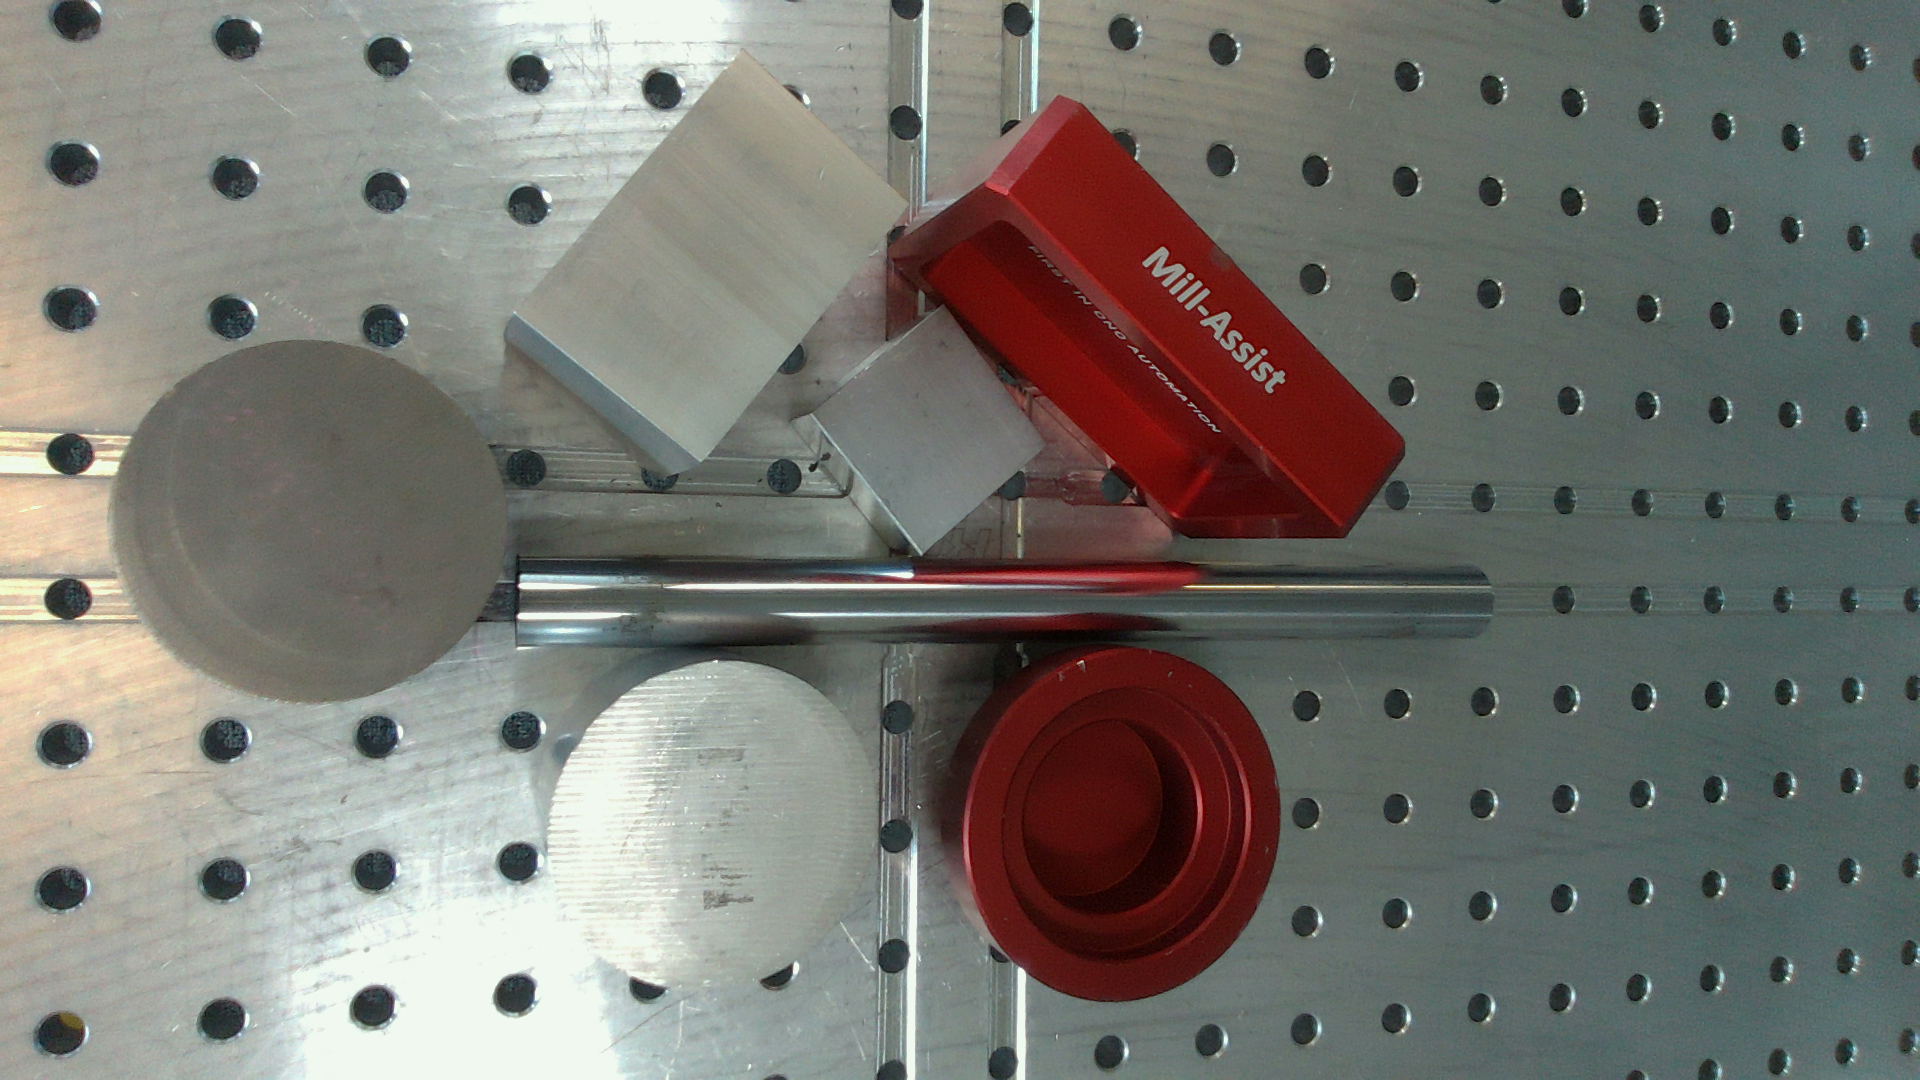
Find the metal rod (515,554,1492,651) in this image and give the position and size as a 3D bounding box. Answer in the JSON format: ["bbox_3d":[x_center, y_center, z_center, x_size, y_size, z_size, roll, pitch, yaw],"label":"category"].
[{"bbox_3d":[0.027,0.018,0.406,0.301,0.025,0.025,1,90,-20],"label":"metal rod"}]

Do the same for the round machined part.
[{"bbox_3d":[0.040,0.079,0.402,0.098,0.042,0.098,0,90,-20],"label":"round machined part"}]

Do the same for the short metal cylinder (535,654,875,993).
[{"bbox_3d":[-0.068,0.070,0.358,0.080,0.050,0.080,0,90,-20],"label":"short metal cylinder"}]

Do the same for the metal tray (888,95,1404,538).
[{"bbox_3d":[0.048,-0.053,0.378,0.130,0.090,0.030,42,77,-15],"label":"metal tray"}]

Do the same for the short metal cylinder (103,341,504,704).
[{"bbox_3d":[-0.151,-0.004,0.327,0.080,0.050,0.080,0,90,-20],"label":"short metal cylinder"}]

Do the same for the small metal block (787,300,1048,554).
[{"bbox_3d":[-0.012,-0.031,0.392,0.050,0.025,0.050,-41,103,-15],"label":"small metal block"}]

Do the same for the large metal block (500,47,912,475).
[{"bbox_3d":[-0.067,-0.063,0.342,0.050,0.080,0.080,40,77,-16],"label":"large metal block"}]
